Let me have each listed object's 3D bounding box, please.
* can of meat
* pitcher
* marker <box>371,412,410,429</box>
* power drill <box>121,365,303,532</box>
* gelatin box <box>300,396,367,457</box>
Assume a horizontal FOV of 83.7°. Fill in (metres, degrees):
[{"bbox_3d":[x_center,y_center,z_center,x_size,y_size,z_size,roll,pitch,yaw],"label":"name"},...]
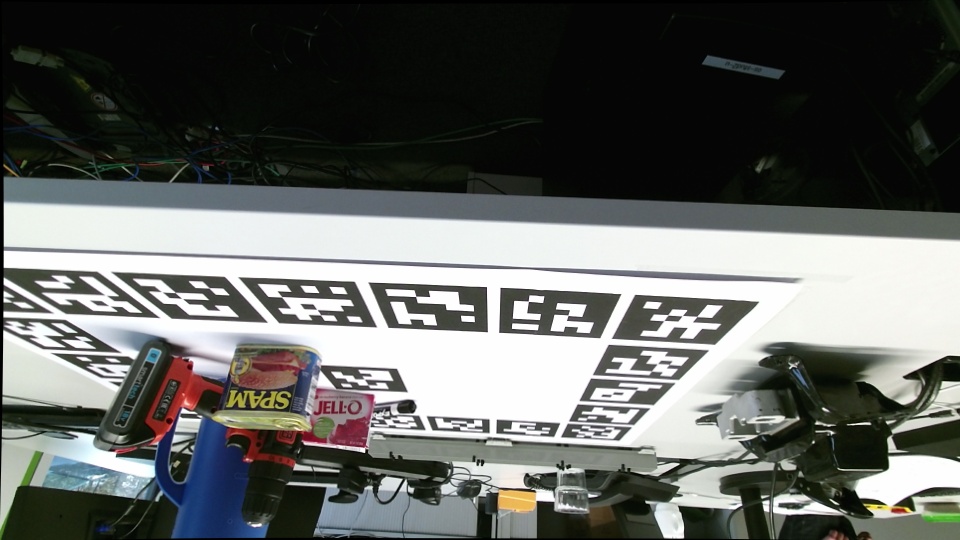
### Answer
[{"bbox_3d":[-0.239,0.134,0.609,0.102,0.083,0.058,2,149,3],"label":"can of meat"},{"bbox_3d":[-0.358,0.279,0.715,0.189,0.241,0.133,16,142,-30],"label":"pitcher"},{"bbox_3d":[-0.154,0.230,0.807,0.121,0.019,0.020,-14,143,23],"label":"marker"},{"bbox_3d":[-0.309,0.205,0.640,0.188,0.183,0.057,28,137,-23],"label":"power drill"},{"bbox_3d":[-0.210,0.217,0.750,0.090,0.073,0.030,9,142,-7],"label":"gelatin box"}]
